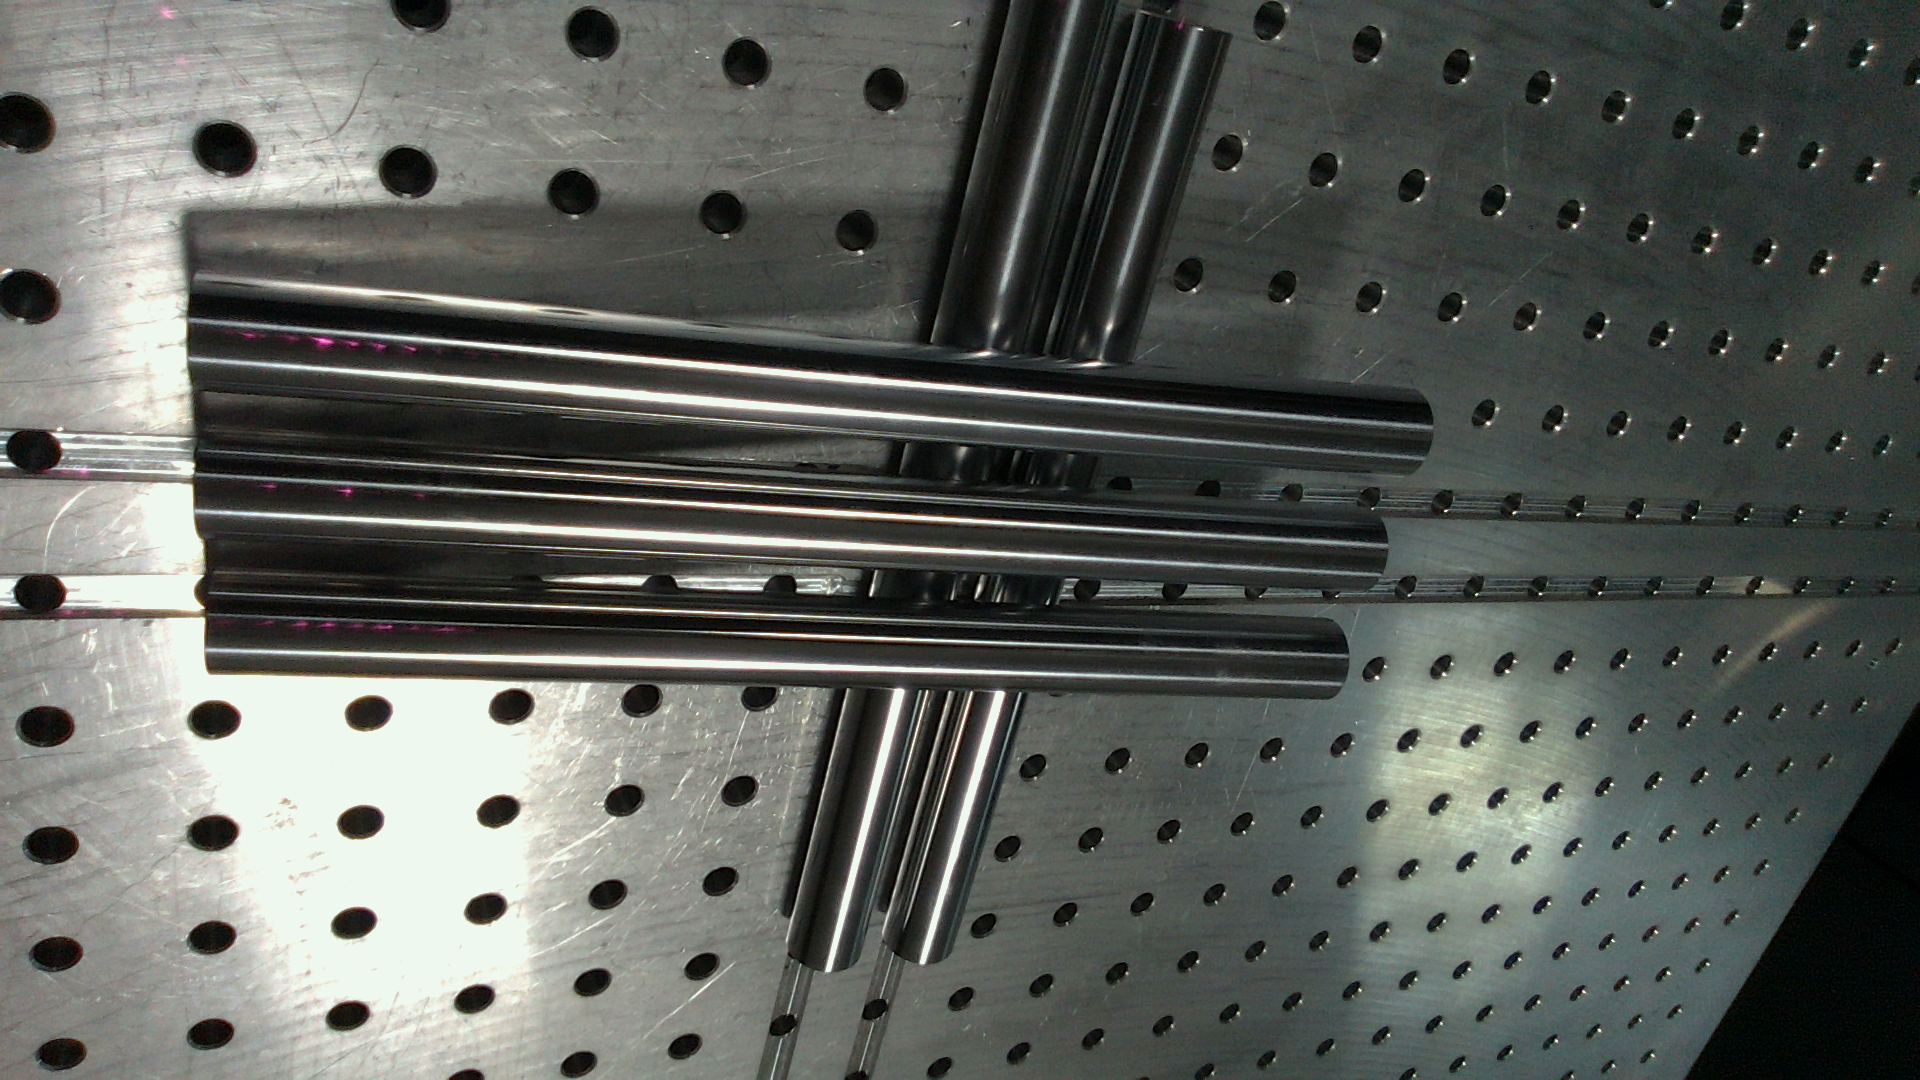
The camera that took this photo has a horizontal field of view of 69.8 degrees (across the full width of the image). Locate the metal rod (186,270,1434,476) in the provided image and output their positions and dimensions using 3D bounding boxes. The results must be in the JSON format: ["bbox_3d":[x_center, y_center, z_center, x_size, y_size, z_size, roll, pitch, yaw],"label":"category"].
[{"bbox_3d":[-0.016,-0.037,0.335,0.301,0.025,0.025,2,118,-20],"label":"metal rod"}]

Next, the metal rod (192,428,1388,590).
[{"bbox_3d":[-0.023,-0.005,0.350,0.301,0.025,0.025,3,117,-21],"label":"metal rod"}]

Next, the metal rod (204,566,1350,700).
[{"bbox_3d":[-0.029,0.027,0.366,0.301,0.025,0.025,4,117,-21],"label":"metal rod"}]

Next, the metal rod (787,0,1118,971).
[{"bbox_3d":[-0.009,0.000,0.387,0.025,0.025,0.300,1,118,-29],"label":"metal rod"}]

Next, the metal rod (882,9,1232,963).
[{"bbox_3d":[0.021,0.003,0.405,0.025,0.025,0.300,1,118,-29],"label":"metal rod"}]
